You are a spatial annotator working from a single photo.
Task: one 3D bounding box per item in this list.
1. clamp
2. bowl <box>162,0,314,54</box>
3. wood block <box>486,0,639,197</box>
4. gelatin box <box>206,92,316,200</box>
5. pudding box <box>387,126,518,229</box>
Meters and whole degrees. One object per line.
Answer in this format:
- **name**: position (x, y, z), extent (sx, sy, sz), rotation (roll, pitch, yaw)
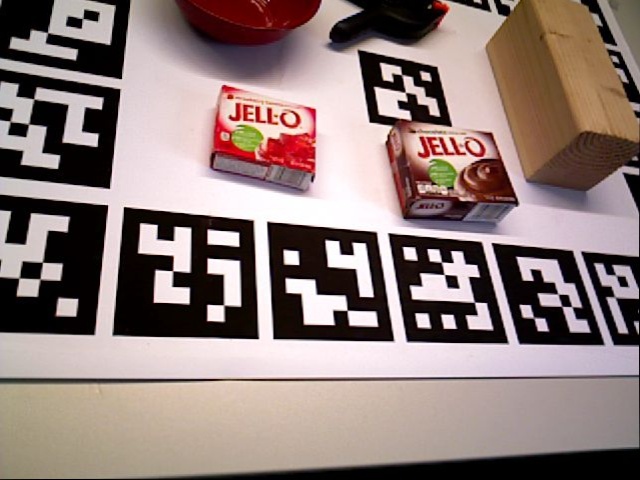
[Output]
- **clamp**: position (0.051, -0.257, 0.607), extent (0.162, 0.037, 0.121), rotation (-6, 66, -27)
- **bowl**: position (-0.089, -0.236, 0.525), extent (0.160, 0.056, 0.160), rotation (9, 63, -19)
- **wood block**: position (0.268, -0.162, 0.602), extent (0.089, 0.093, 0.204), rotation (6, 62, -21)
- **gelatin box**: position (-0.049, -0.080, 0.465), extent (0.088, 0.031, 0.072), rotation (11, 62, -17)
- **pudding box**: position (0.125, -0.058, 0.521), extent (0.112, 0.039, 0.089), rotation (2, 67, -19)
